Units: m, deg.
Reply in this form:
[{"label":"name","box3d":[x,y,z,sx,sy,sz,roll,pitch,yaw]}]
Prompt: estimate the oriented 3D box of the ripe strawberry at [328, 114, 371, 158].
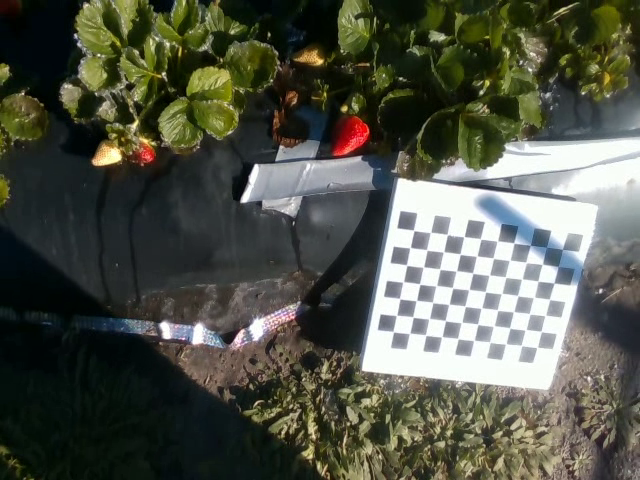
[{"label":"ripe strawberry","box3d":[0.039,-0.132,0.808,0.061,0.065,0.057,40,-39,-17]}]
